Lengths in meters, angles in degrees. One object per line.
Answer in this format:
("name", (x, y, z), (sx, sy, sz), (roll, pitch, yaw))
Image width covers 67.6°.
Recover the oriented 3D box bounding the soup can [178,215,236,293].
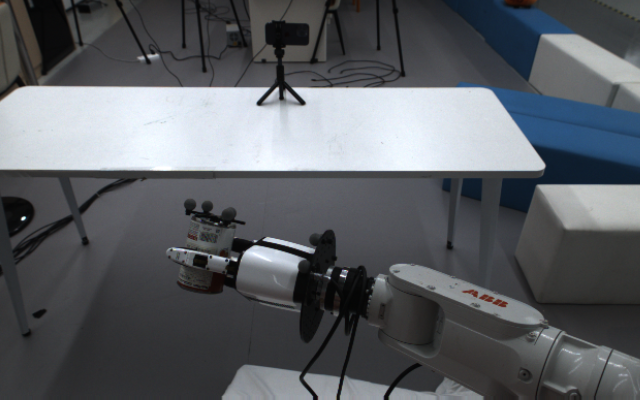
("soup can", (-0.164, 0.081, 0.708), (0.067, 0.101, 0.067), (13, 1, 0))
